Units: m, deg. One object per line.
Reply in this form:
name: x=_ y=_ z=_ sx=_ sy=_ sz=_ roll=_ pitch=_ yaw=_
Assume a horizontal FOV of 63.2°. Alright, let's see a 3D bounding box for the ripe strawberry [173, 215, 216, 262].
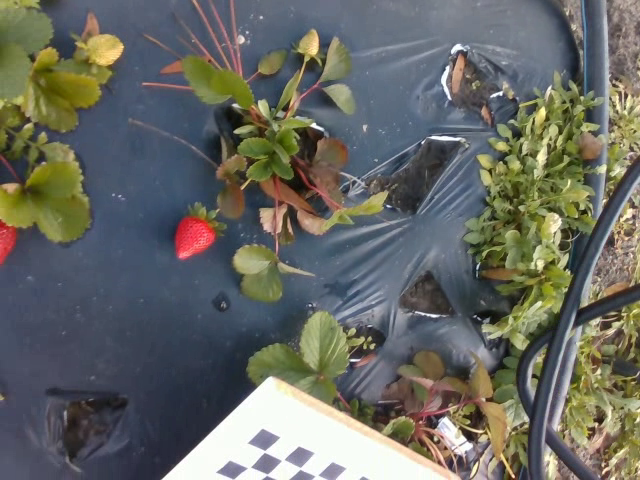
ripe strawberry: x=-0.117 y=0.002 z=0.462 sx=0.042 sy=0.052 sz=0.044 roll=8 pitch=-38 yaw=31
